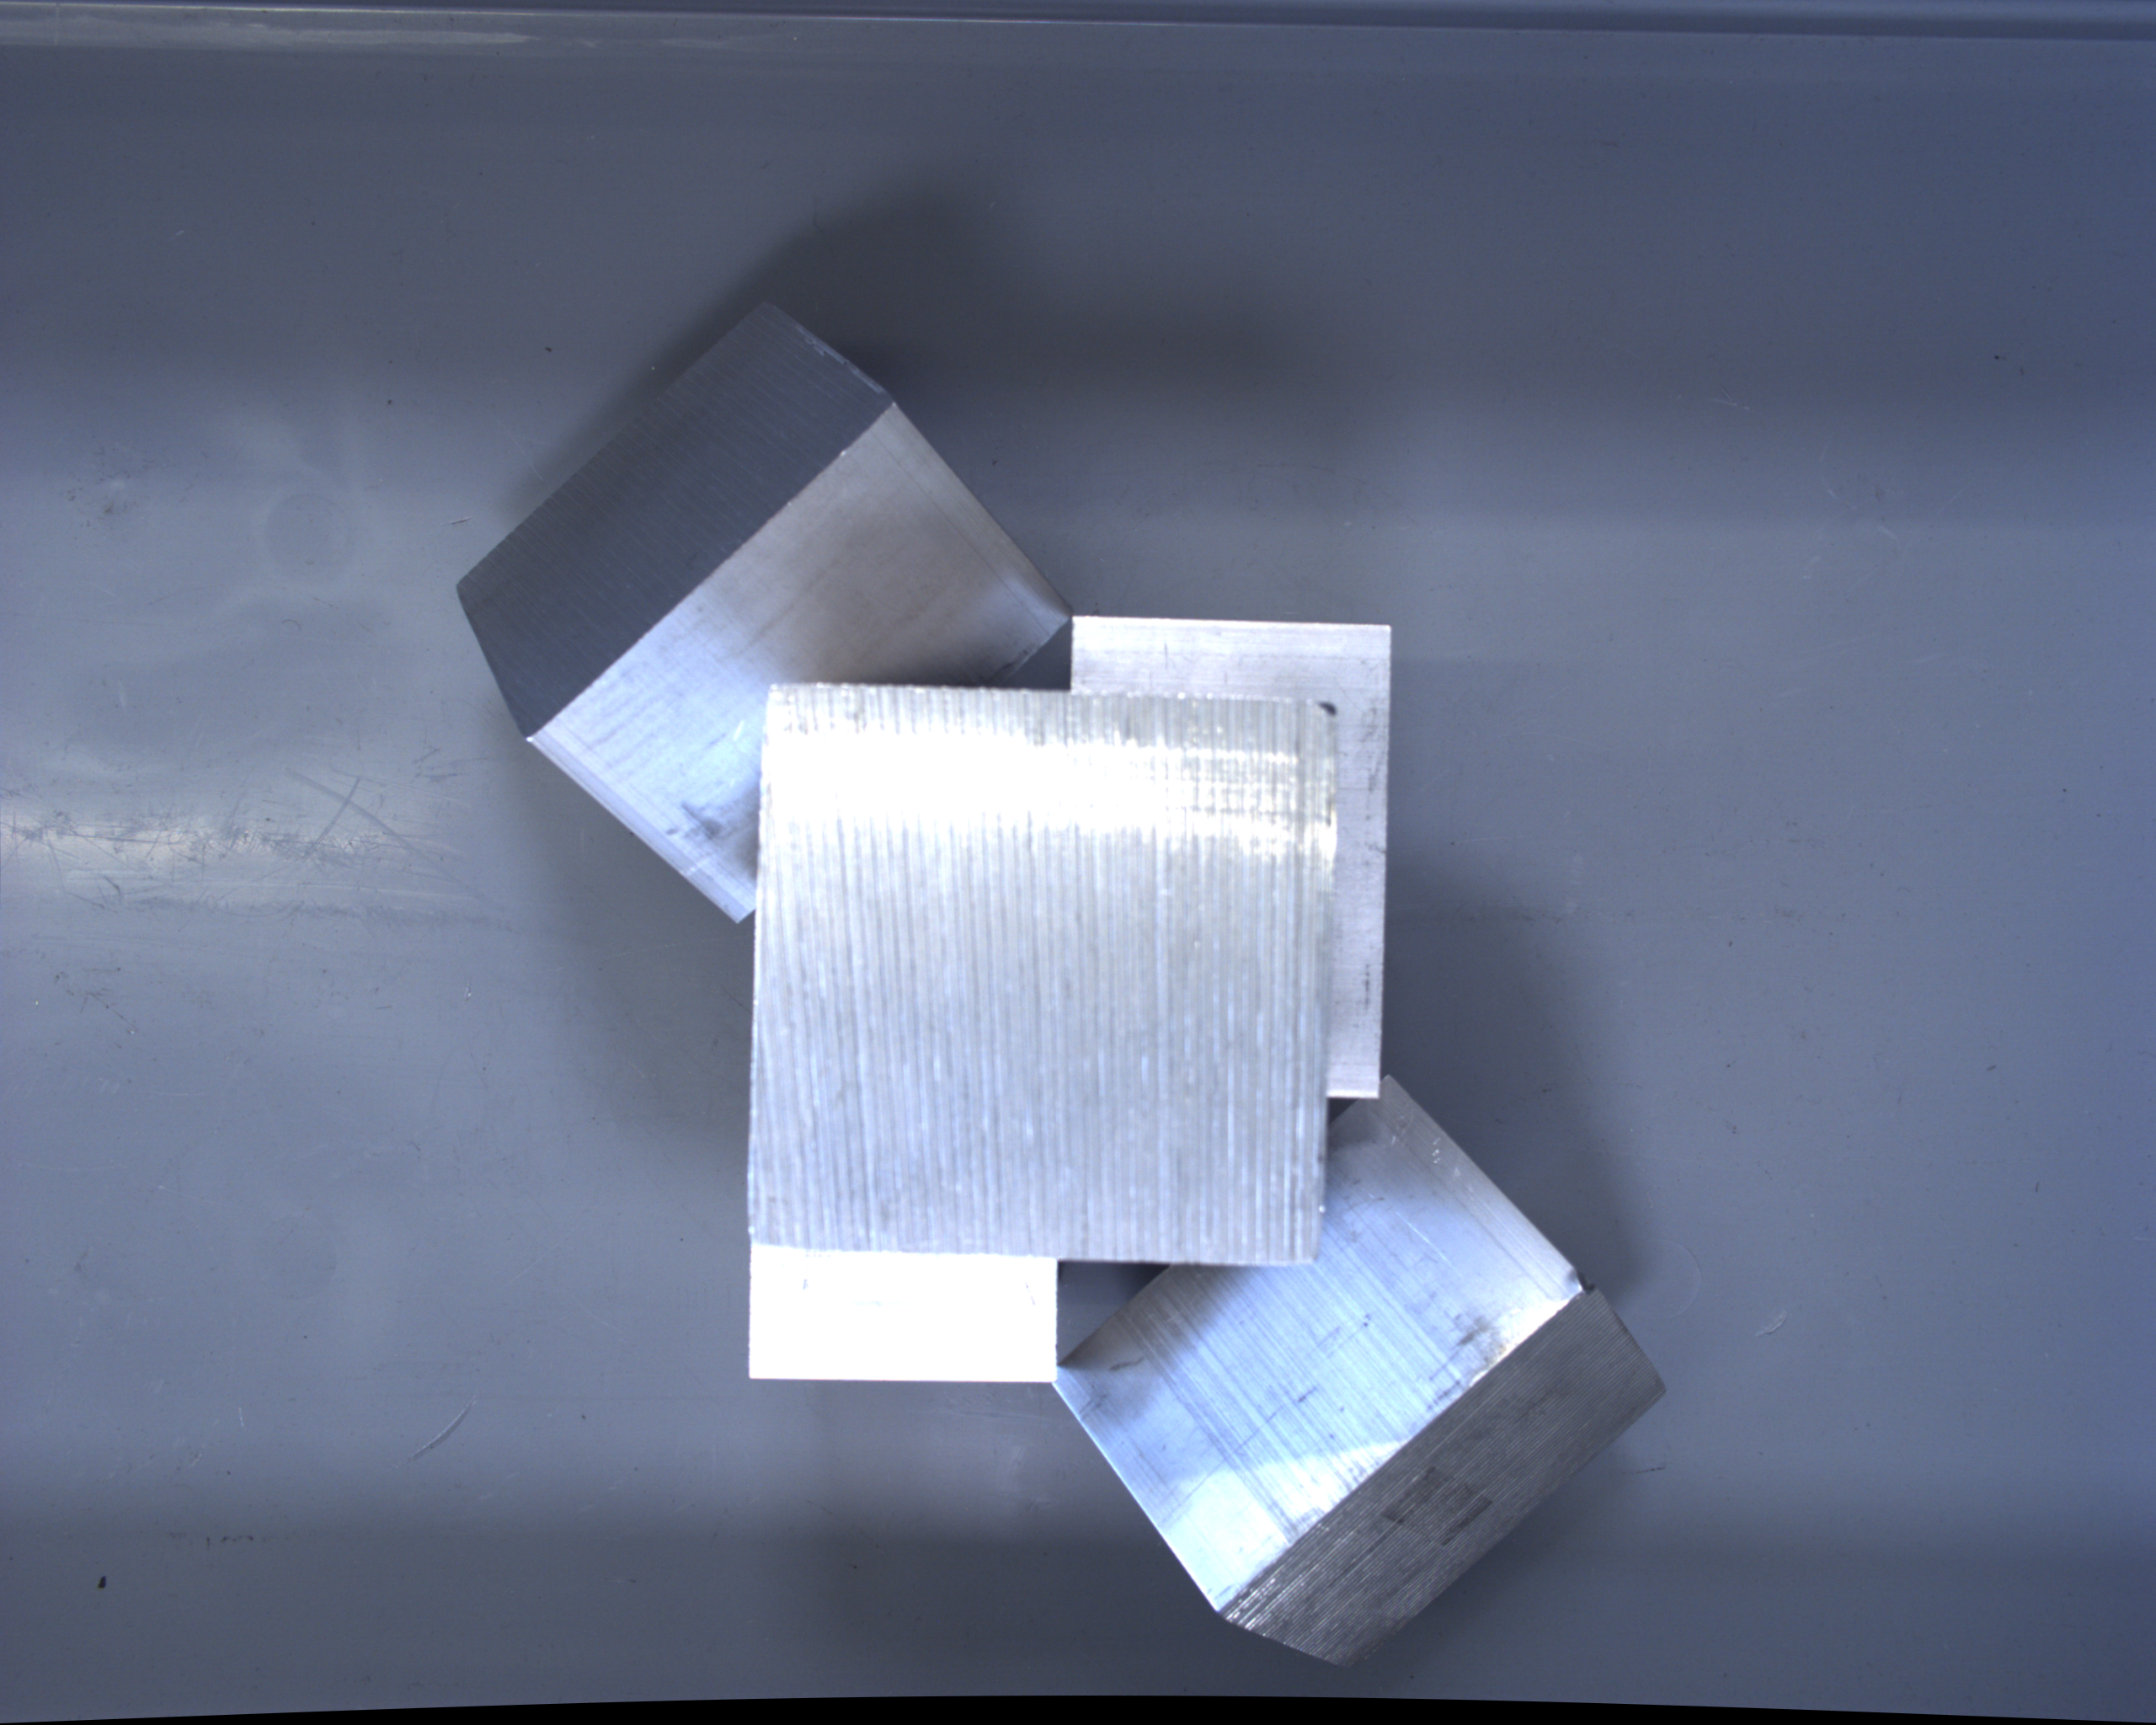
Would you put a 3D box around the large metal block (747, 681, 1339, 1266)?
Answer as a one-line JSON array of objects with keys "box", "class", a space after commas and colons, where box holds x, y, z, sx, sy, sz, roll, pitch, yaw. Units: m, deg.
[{"box": [-0.005, 0.015, 0.317, 0.081, 0.050, 0.080, 2, 90, 0], "class": "large metal block"}]

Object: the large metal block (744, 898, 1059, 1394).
[{"box": [-0.029, 0.047, 0.382, 0.050, 0.080, 0.080, 1, 90, 0], "class": "large metal block"}]

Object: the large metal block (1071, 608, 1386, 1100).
[{"box": [0.024, -0.001, 0.381, 0.050, 0.080, 0.080, 1, 90, 0], "class": "large metal block"}]

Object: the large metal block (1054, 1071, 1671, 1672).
[{"box": [0.053, 0.094, 0.375, 0.080, 0.080, 0.050, -41, 55, 0], "class": "large metal block"}]

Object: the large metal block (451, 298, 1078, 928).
[{"box": [-0.059, -0.048, 0.374, 0.080, 0.080, 0.050, -43, 125, 0], "class": "large metal block"}]
